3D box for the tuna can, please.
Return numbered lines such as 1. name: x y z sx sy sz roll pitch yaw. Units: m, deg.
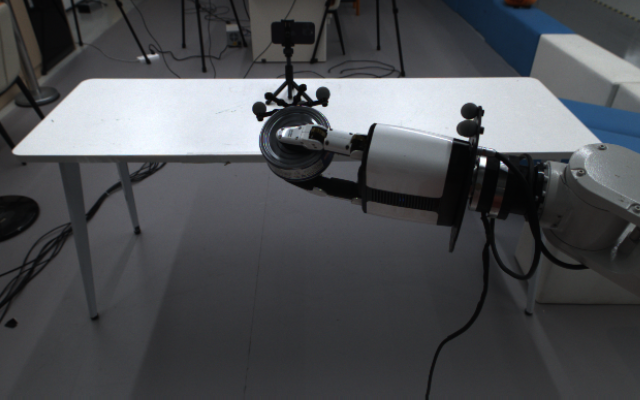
1. tuna can: -0.022 -0.062 0.562 0.085 0.034 0.085 -4 68 9
